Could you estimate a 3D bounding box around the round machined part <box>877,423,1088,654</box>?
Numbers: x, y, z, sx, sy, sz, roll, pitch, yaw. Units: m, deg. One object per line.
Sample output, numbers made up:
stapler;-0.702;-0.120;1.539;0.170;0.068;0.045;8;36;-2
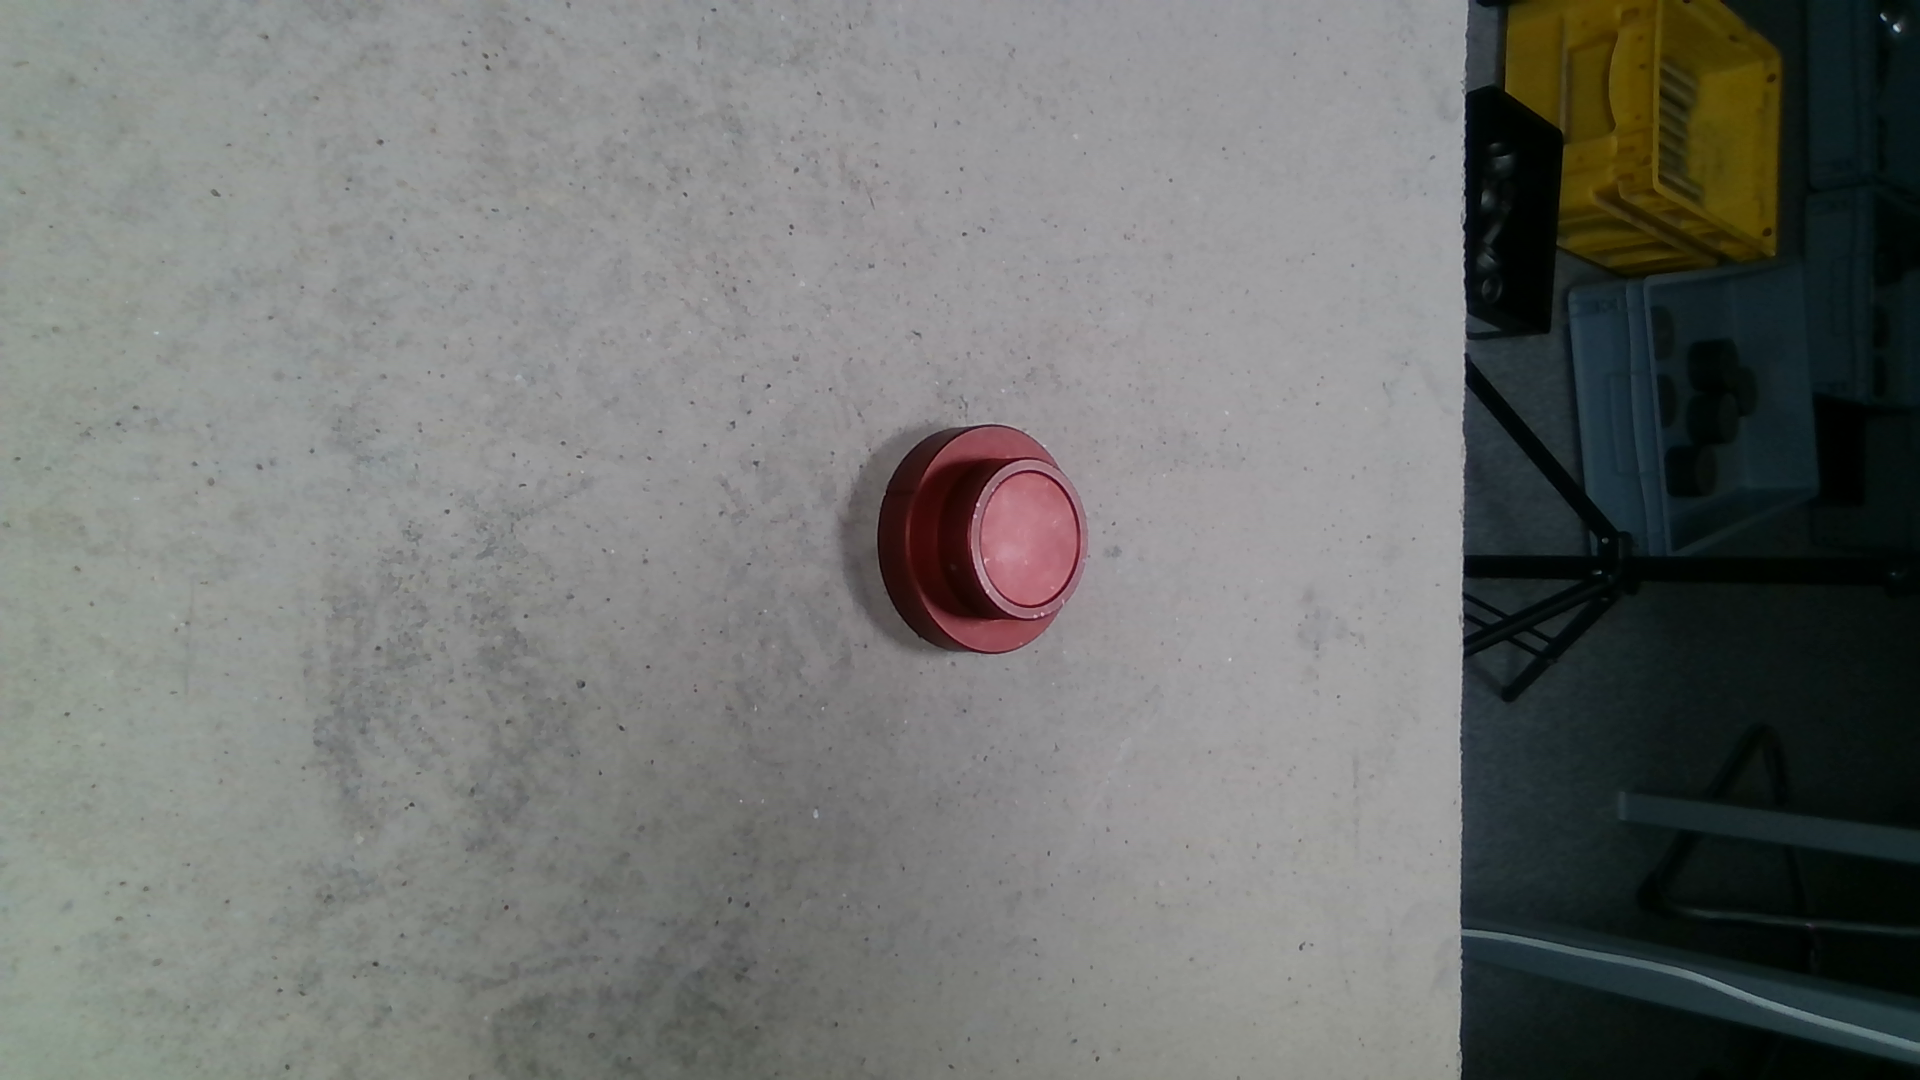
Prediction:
round machined part;0.016;-0.001;0.585;0.098;0.042;0.098;0;90;-40
